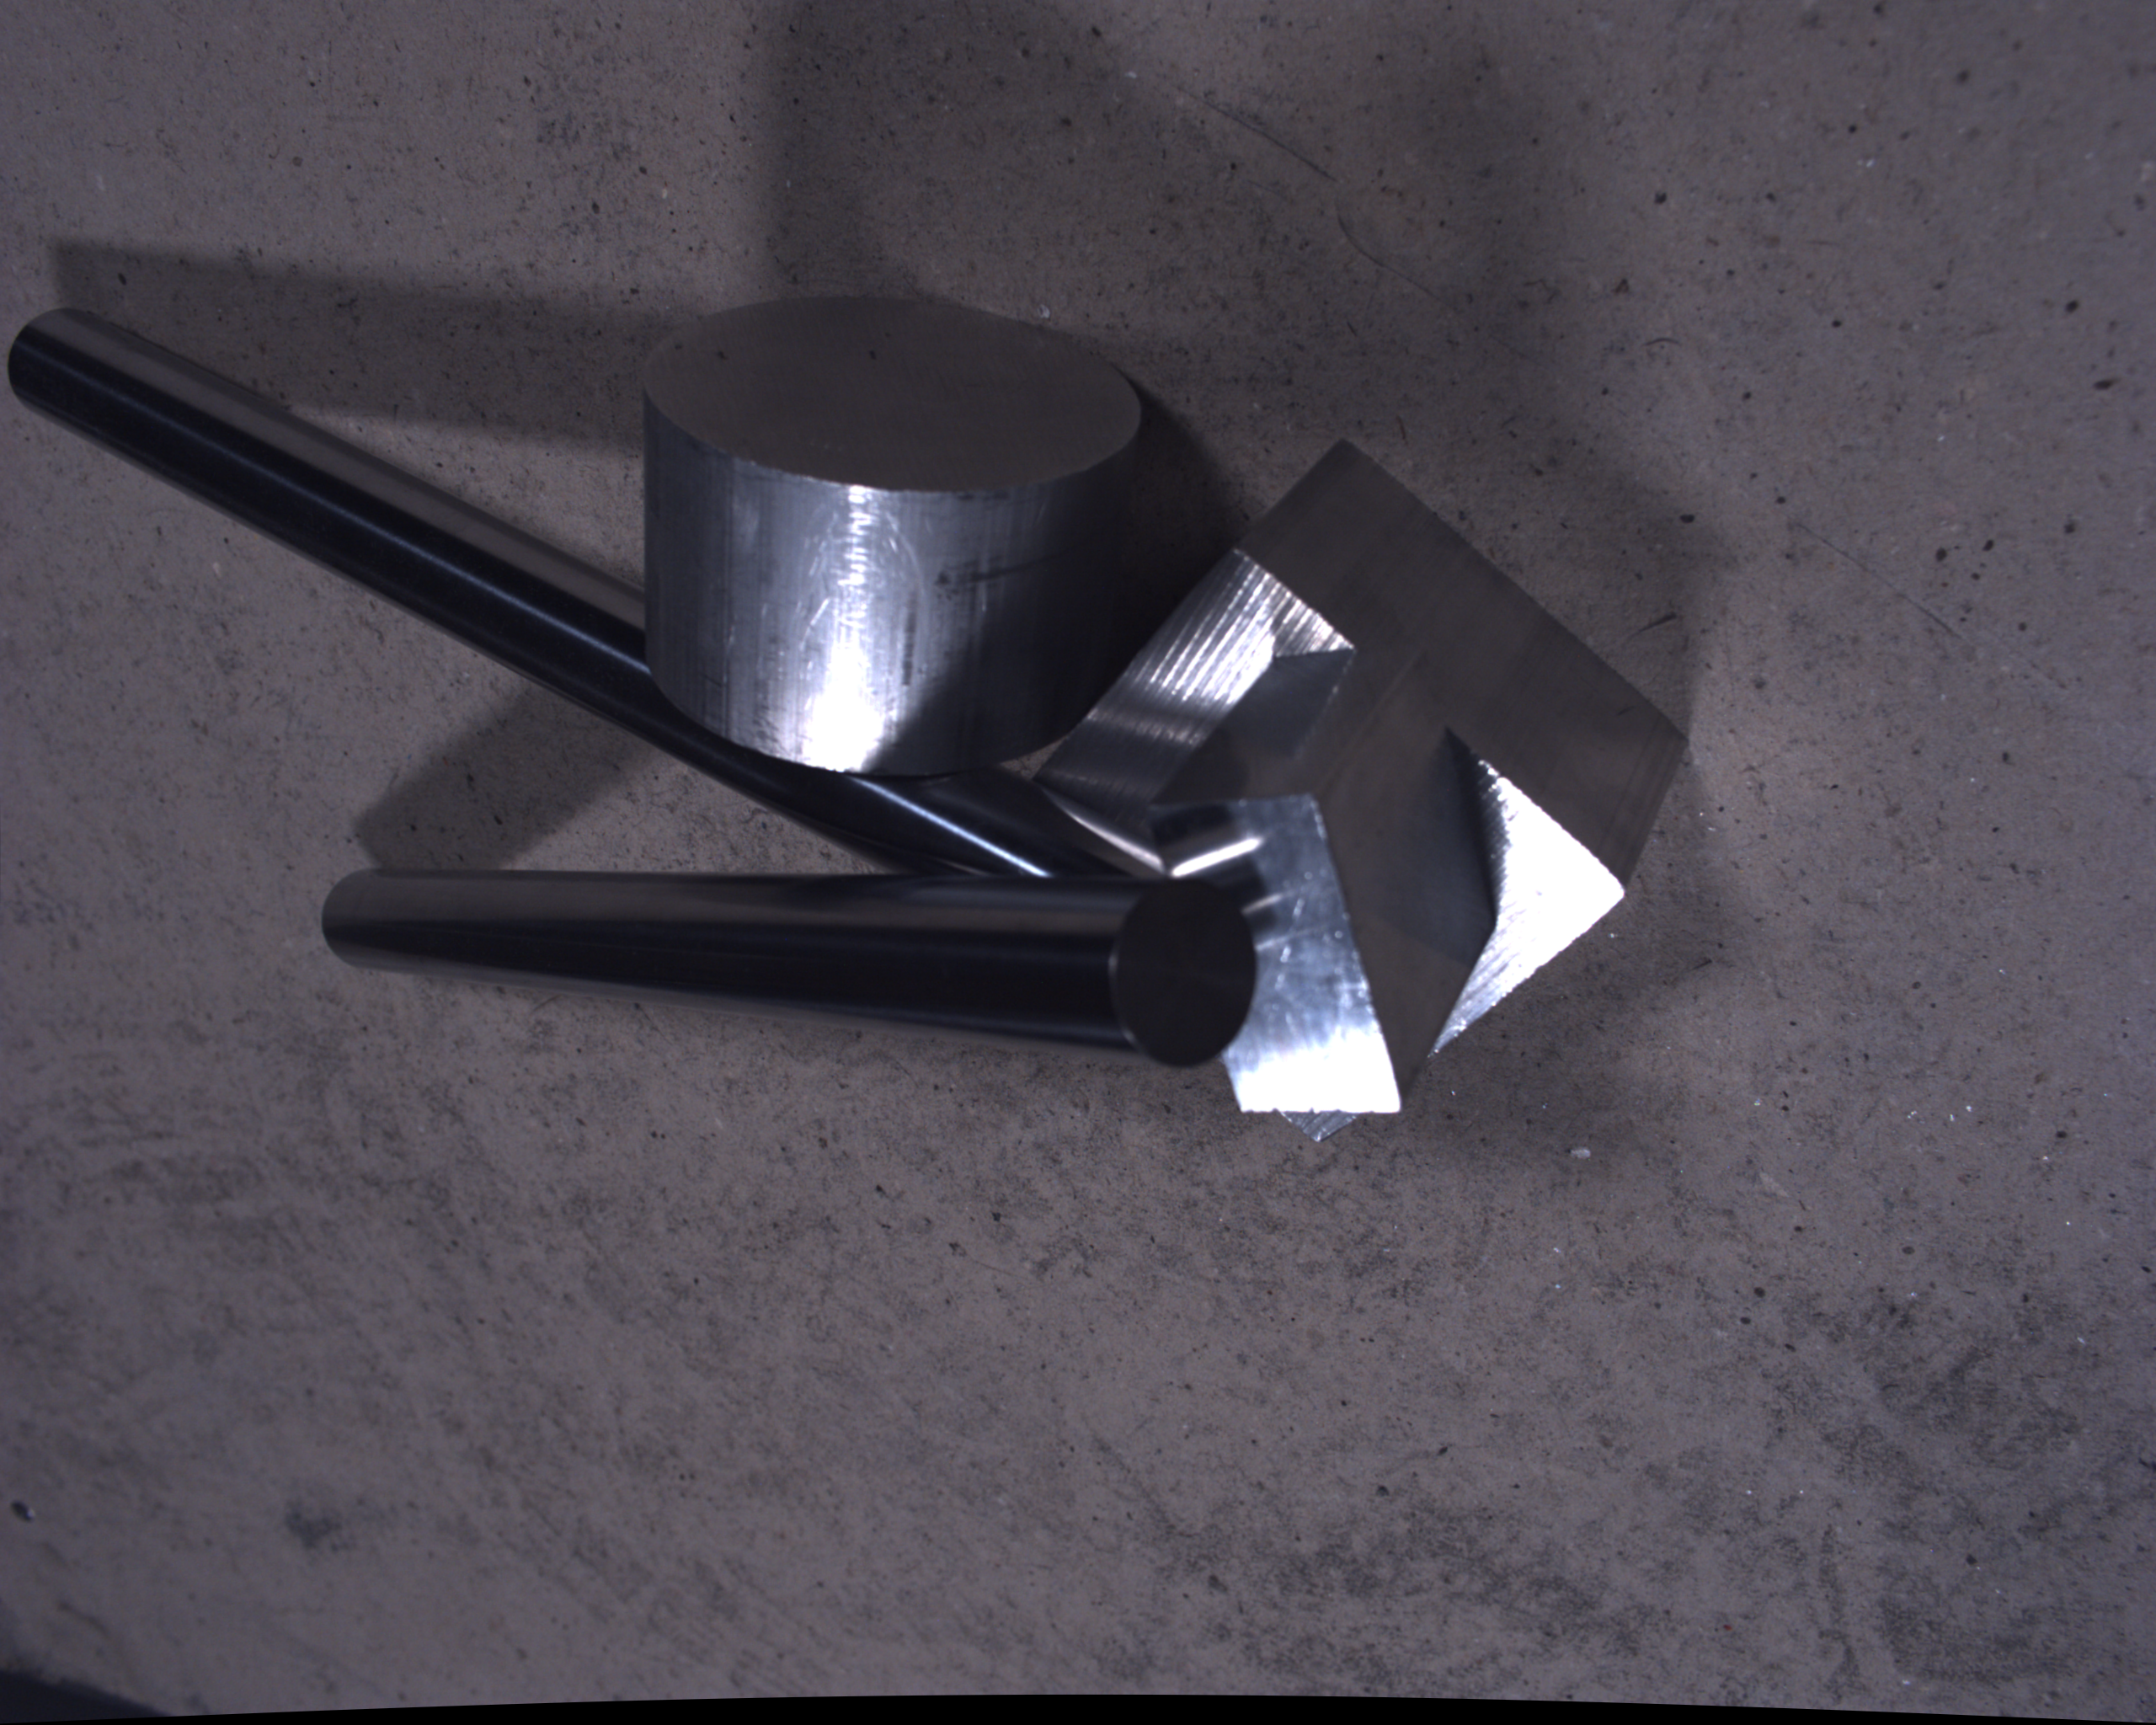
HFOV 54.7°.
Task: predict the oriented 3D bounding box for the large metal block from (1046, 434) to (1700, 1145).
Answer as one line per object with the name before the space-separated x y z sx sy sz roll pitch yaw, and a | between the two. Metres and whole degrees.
large metal block | 0.044 -0.011 0.359 0.080 0.050 0.080 42 130 0

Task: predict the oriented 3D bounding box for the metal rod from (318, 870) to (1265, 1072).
metal rod | -0.078 0.014 0.388 0.300 0.025 0.025 0 121 52

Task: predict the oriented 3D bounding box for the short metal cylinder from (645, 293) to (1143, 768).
short metal cylinder | -0.032 -0.058 0.354 0.080 0.080 0.050 19 126 16

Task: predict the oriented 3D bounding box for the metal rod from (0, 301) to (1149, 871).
metal rod | -0.103 -0.050 0.393 0.300 0.025 0.025 27 128 25

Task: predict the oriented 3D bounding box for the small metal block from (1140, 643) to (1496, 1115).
small metal block | 0.037 0.002 0.305 0.025 0.050 0.050 -4 117 30
